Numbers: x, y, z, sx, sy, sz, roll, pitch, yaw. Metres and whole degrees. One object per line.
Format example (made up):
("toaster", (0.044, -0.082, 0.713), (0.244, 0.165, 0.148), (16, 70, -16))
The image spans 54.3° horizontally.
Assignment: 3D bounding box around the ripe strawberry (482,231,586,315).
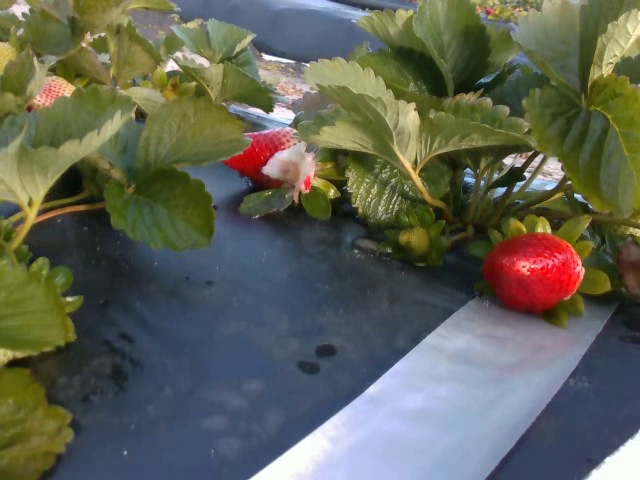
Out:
("ripe strawberry", (0.080, 0.010, 0.234), (0.055, 0.036, 0.050), (-14, 40, -43))
